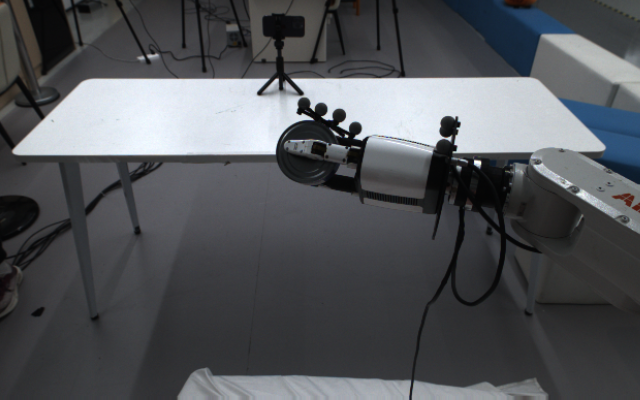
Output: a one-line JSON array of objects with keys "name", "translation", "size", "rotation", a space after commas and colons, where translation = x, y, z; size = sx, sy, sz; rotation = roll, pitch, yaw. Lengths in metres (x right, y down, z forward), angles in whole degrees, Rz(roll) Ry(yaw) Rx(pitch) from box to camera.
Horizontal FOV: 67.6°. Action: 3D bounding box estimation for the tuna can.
[{"name": "tuna can", "translation": [-0.014, -0.063, 0.658], "size": [0.085, 0.085, 0.034], "rotation": [9, -5, 10]}]
